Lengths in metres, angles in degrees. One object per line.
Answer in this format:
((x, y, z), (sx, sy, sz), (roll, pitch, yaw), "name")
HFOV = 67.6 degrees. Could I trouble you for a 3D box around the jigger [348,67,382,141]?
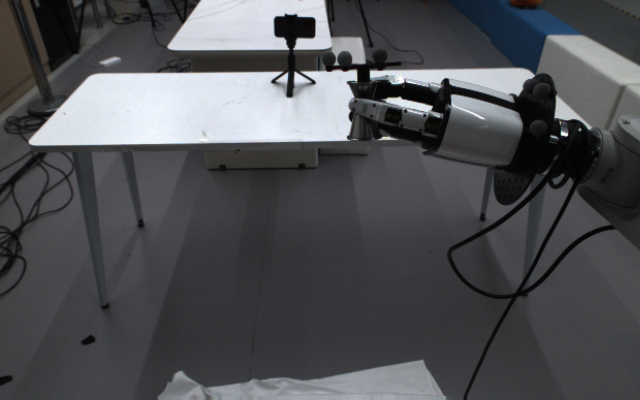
((0.053, -0.109, 0.585), (0.043, 0.071, 0.043), (-2, 19, 1), "jigger")
